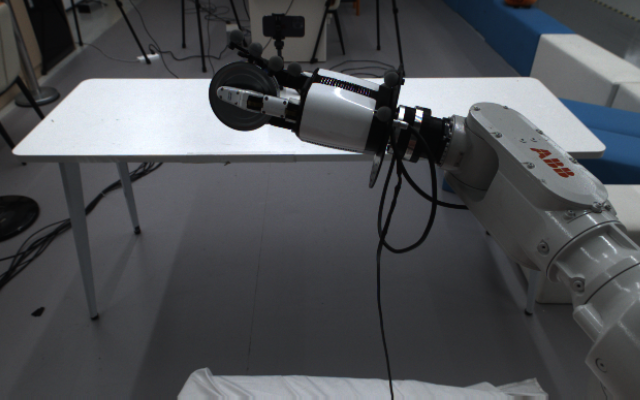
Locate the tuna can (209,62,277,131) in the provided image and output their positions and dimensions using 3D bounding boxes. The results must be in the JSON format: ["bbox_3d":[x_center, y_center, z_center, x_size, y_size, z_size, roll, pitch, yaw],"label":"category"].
[{"bbox_3d":[-0.094,-0.132,0.613,0.085,0.085,0.034,4,20,3],"label":"tuna can"}]
